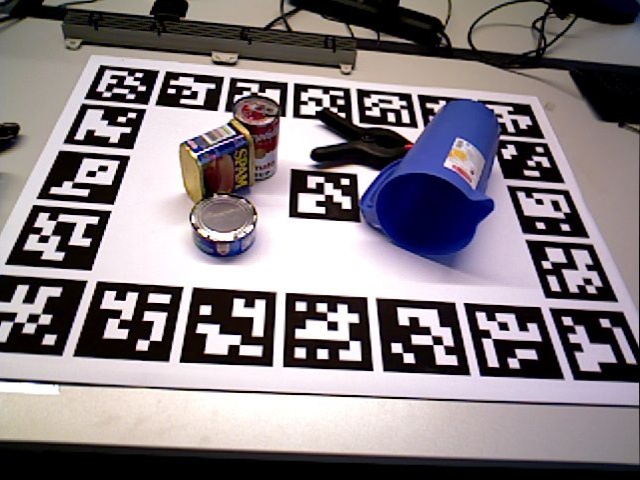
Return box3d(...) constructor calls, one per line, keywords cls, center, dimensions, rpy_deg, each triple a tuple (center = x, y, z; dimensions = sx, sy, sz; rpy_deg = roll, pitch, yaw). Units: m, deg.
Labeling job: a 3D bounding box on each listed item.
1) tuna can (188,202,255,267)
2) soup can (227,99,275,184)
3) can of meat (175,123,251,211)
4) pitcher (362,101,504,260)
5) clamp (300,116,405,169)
box3d(cls="tuna can", center=(-0.128, -0.007, 0.708), dimensions=(0.085, 0.034, 0.084), rpy_deg=(3, 52, -5))
box3d(cls="soup can", center=(-0.098, -0.140, 0.779), dimensions=(0.067, 0.104, 0.067), rpy_deg=(2, 52, -3))
box3d(cls="can of meat", center=(-0.143, -0.094, 0.729), dimensions=(0.082, 0.104, 0.057), rpy_deg=(-28, 60, -23))
box3d(cls="pitcher", center=(0.171, -0.095, 0.750), dimensions=(0.190, 0.135, 0.237), rpy_deg=(4, 39, 25))
box3d(cls="clamp", center=(0.051, -0.146, 0.859), dimensions=(0.164, 0.037, 0.119), rpy_deg=(7, 46, -6))
